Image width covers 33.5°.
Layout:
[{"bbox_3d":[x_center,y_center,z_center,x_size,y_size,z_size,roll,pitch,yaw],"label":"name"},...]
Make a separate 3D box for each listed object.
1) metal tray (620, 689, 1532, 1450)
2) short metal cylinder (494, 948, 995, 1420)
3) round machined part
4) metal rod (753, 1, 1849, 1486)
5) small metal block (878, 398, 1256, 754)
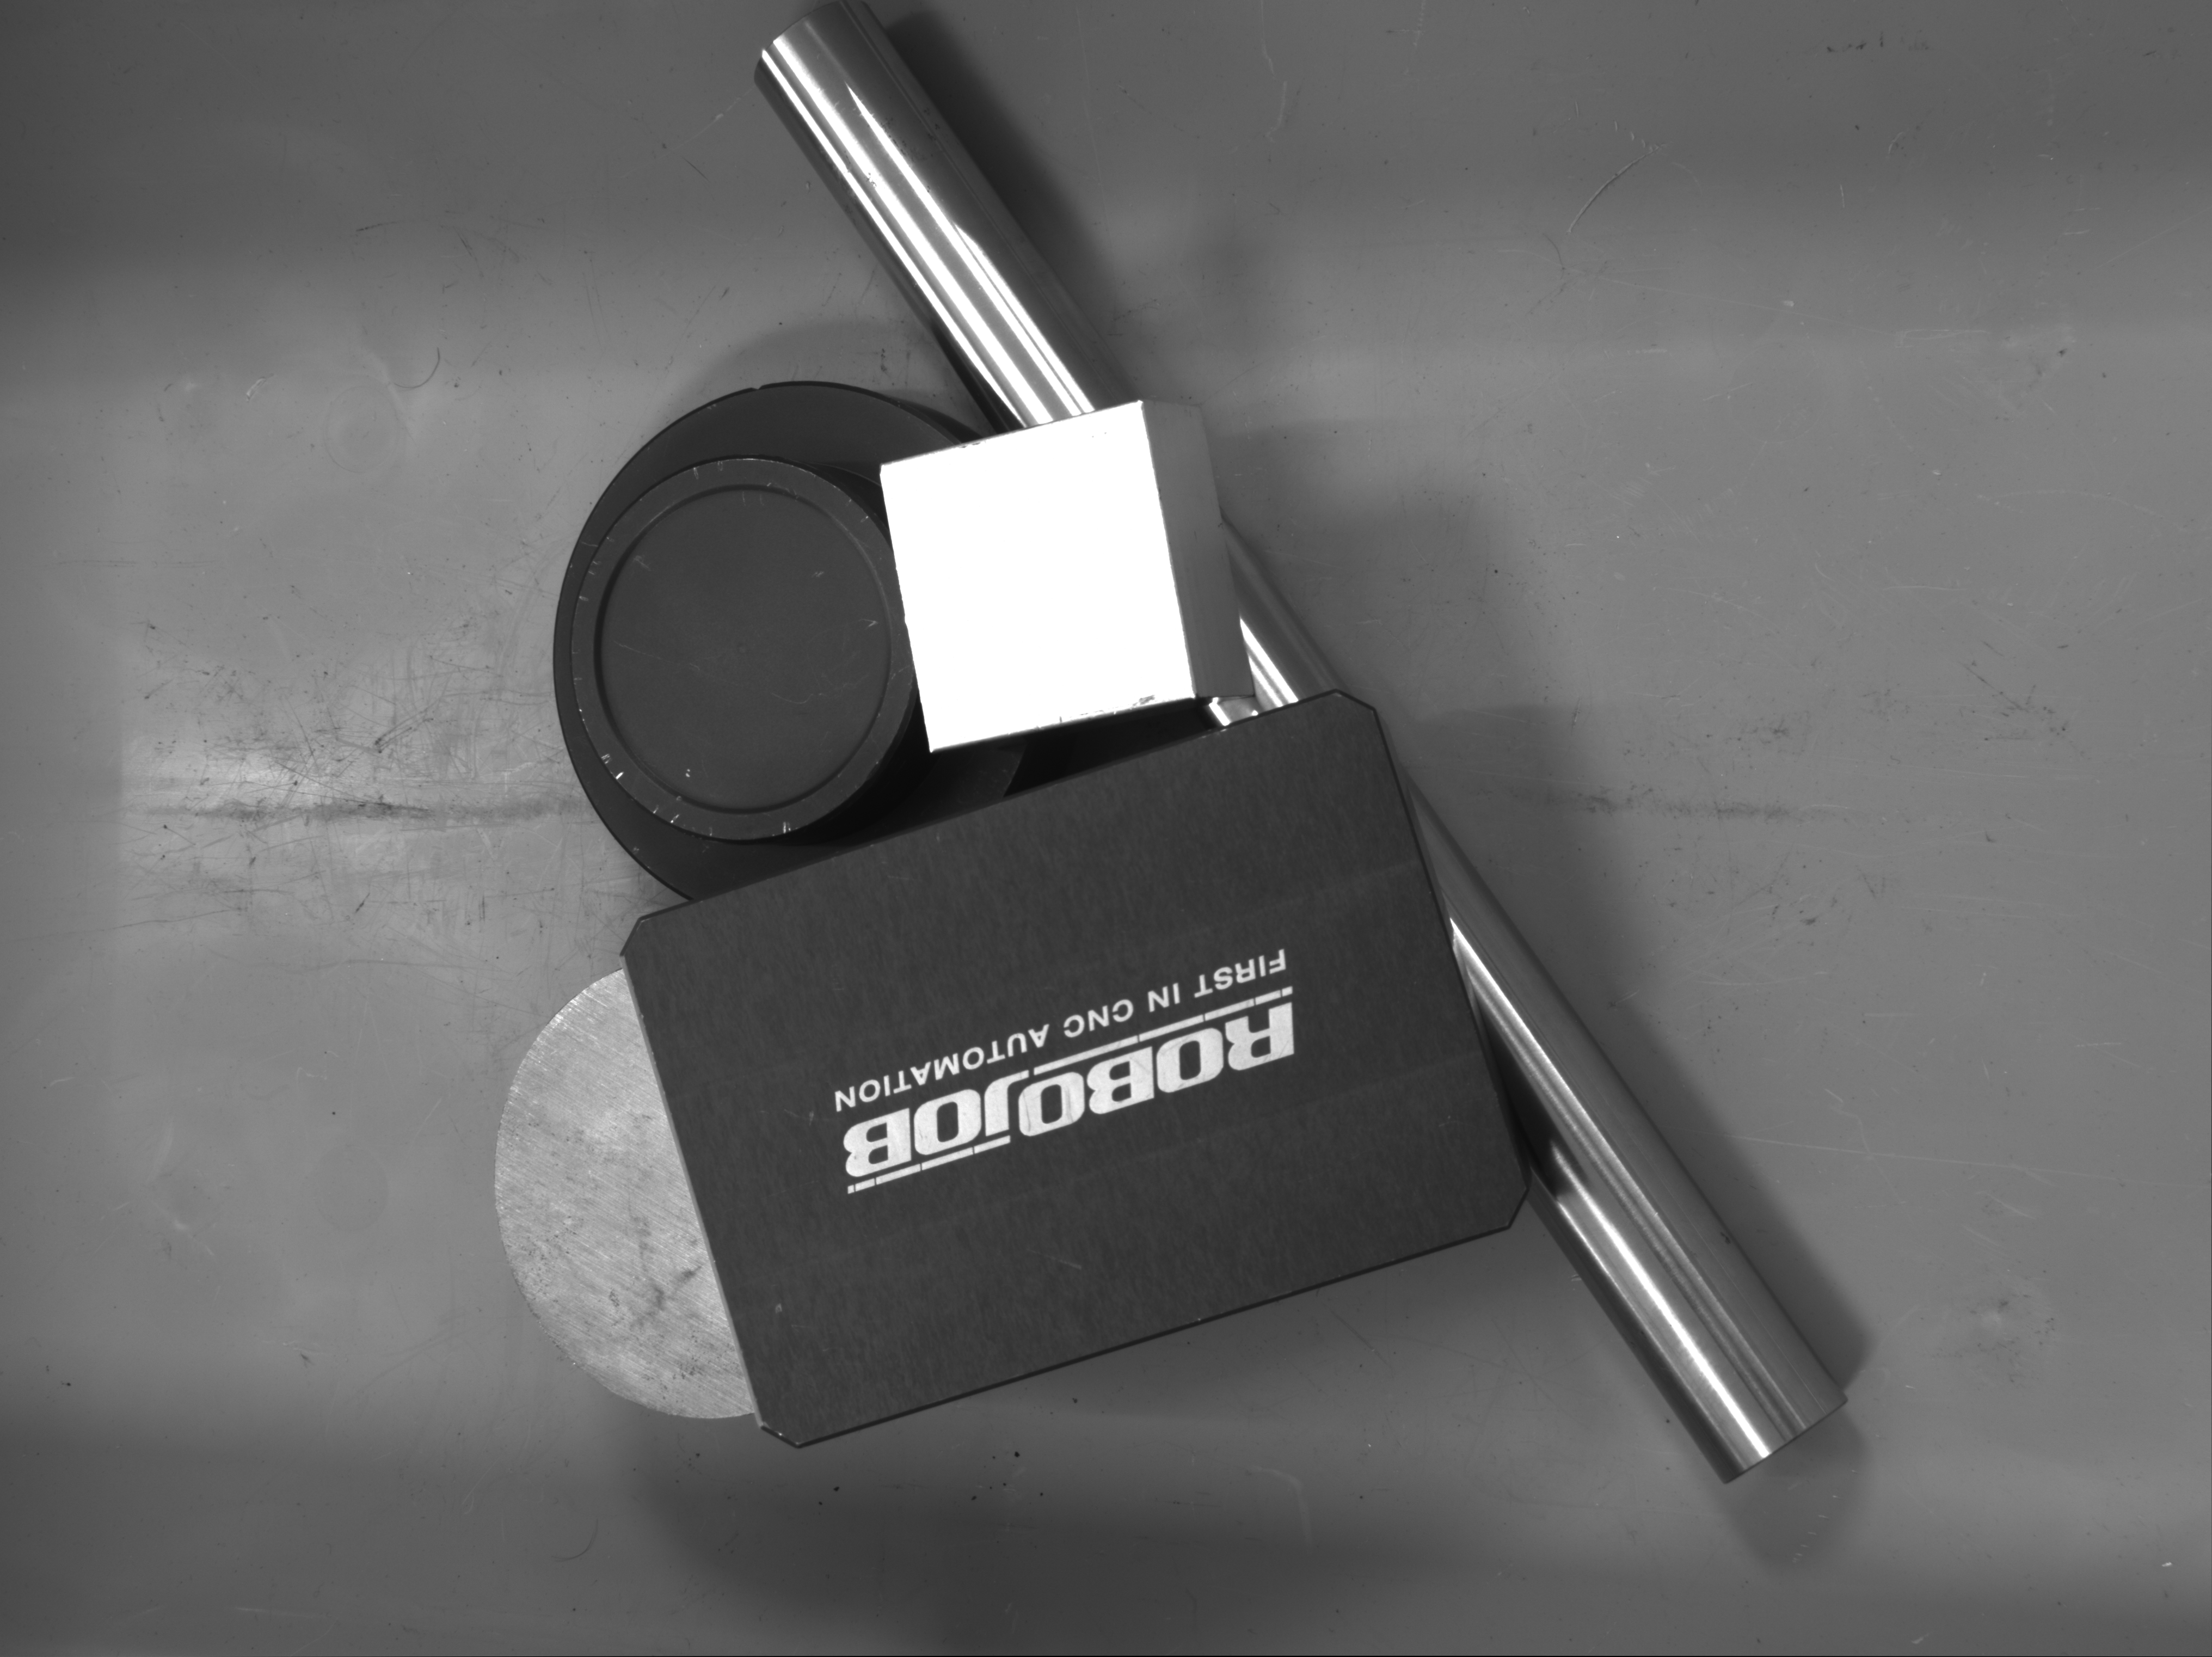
[{"bbox_3d":[-0.004,0.040,0.603,0.130,0.030,0.090,-18,84,6],"label":"metal tray"},{"bbox_3d":[-0.061,0.062,0.654,0.080,0.050,0.080,0,90,20],"label":"short metal cylinder"},{"bbox_3d":[-0.057,-0.031,0.656,0.098,0.042,0.098,0,90,21],"label":"round machined part"},{"bbox_3d":[0.029,-0.020,0.635,0.025,0.025,0.300,-38,78,16],"label":"metal rod"},{"bbox_3d":[-0.007,-0.042,0.623,0.050,0.025,0.050,-11,89,25],"label":"small metal block"}]
